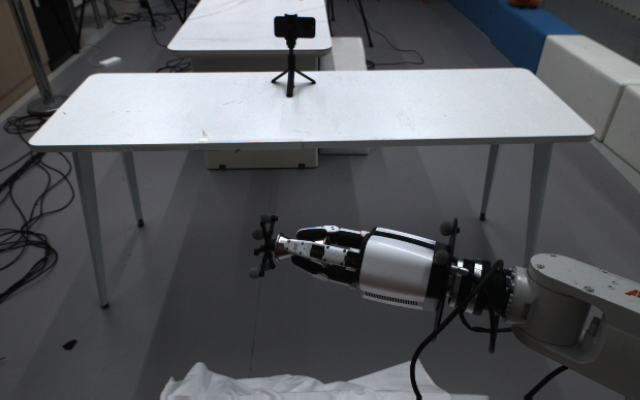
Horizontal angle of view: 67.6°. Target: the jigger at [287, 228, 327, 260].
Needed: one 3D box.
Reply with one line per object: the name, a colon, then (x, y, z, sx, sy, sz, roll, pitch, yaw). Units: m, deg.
jigger: (-0.017, 0.064, 0.659, 0.071, 0.043, 0.043, 5, 34, 14)
